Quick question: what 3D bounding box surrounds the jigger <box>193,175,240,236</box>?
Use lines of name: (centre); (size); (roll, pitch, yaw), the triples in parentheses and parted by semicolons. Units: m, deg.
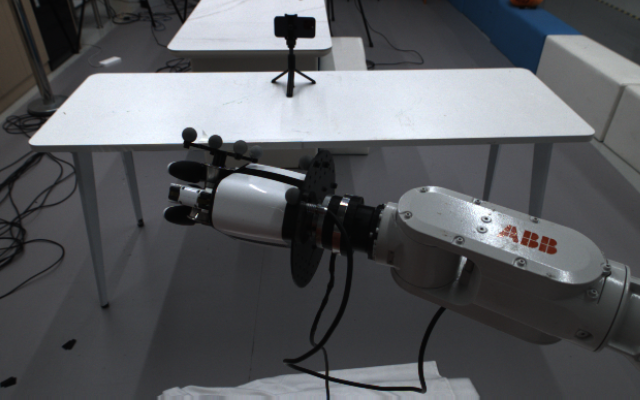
jigger: (-0.127, -0.007, 0.584); (0.043, 0.071, 0.043); (14, 1, 0)
